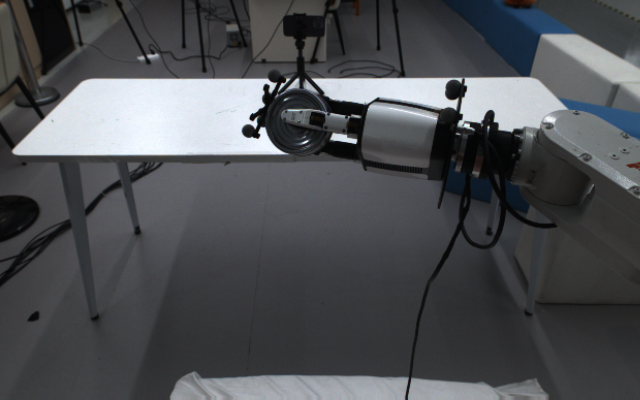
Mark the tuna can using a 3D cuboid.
[{"bbox_3d":[-0.024,-0.097,0.628,0.085,0.085,0.034,9,5,9],"label":"tuna can"}]
